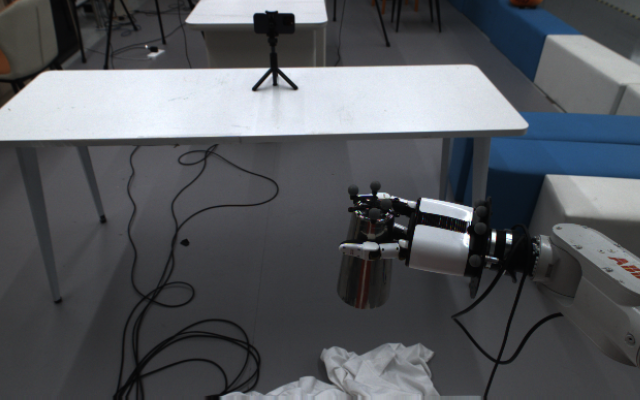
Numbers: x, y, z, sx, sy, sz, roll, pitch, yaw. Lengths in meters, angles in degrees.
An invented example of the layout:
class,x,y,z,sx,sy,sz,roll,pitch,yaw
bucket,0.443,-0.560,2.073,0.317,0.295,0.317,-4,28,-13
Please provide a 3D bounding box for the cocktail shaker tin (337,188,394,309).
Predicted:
class,x,y,z,sx,sy,sz,roll,pitch,yaw
cocktail shaker tin,0.081,0.082,0.797,0.093,0.170,0.093,2,33,-2
